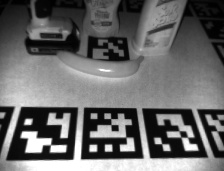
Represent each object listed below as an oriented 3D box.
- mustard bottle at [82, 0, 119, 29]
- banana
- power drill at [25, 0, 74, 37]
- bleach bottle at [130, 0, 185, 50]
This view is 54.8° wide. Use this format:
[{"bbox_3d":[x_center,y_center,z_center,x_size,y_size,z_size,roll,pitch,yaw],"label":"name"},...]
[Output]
[{"bbox_3d":[-0.022,-0.229,0.515,0.096,0.192,0.058,3,52,-5],"label":"mustard bottle"},{"bbox_3d":[-0.022,-0.070,0.486,0.197,0.039,0.074,4,56,-2],"label":"banana"},{"bbox_3d":[-0.122,-0.197,0.453,0.185,0.187,0.057,1,45,-9],"label":"power drill"},{"bbox_3d":[0.109,-0.191,0.476,0.103,0.251,0.067,-5,54,-10],"label":"bleach bottle"}]
